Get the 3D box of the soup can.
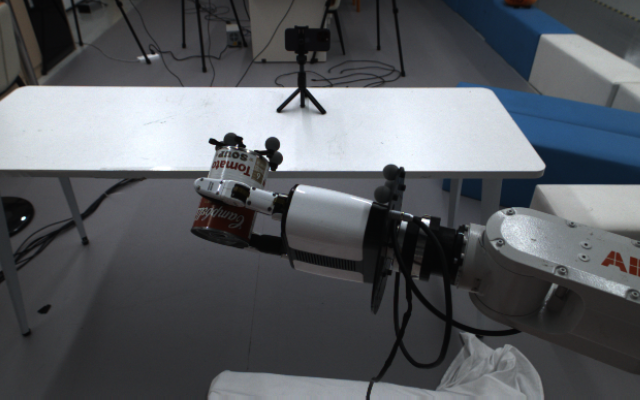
[{"bbox_3d":[-0.101,-0.003,0.561,0.067,0.067,0.101,9,72,10],"label":"soup can"}]
